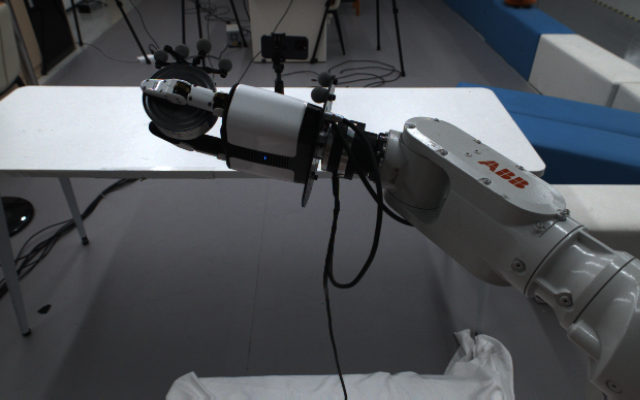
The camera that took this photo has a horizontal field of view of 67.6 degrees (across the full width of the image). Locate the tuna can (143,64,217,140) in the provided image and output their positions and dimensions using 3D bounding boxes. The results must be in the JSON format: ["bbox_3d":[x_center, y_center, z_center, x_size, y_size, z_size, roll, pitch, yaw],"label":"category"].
[{"bbox_3d":[-0.164,-0.116,0.577,0.085,0.034,0.085,1,72,-2],"label":"tuna can"}]
